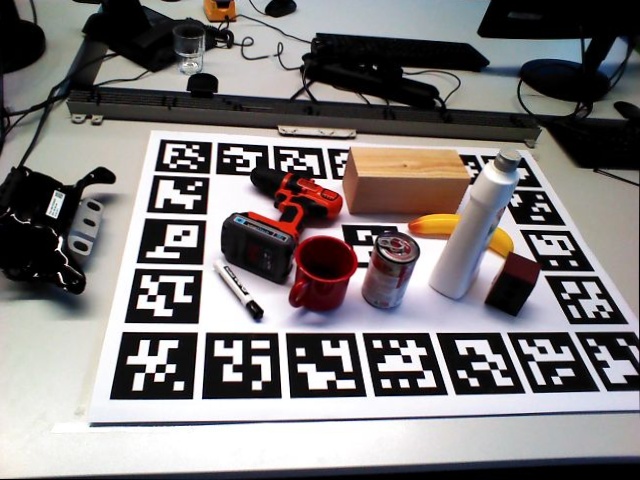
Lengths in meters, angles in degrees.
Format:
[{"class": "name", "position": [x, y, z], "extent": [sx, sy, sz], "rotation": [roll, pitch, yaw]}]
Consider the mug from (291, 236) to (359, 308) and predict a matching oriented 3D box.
[{"class": "mug", "position": [-0.001, 0.052, 0.754], "extent": [0.093, 0.082, 0.116], "rotation": [34, 52, 20]}]

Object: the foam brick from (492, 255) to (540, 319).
[{"class": "foam brick", "position": [0.308, 0.071, 0.795], "extent": [0.053, 0.078, 0.051], "rotation": [24, 44, 17]}]

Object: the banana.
[{"class": "banana", "position": [0.248, -0.024, 0.904], "extent": [0.198, 0.039, 0.074], "rotation": [14, 58, 1]}]

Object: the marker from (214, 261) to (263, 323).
[{"class": "marker", "position": [-0.120, 0.076, 0.759], "extent": [0.019, 0.020, 0.121], "rotation": [-24, 54, -27]}]

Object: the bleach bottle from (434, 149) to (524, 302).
[{"class": "bleach bottle", "position": [0.236, -0.026, 0.755], "extent": [0.068, 0.252, 0.102], "rotation": [22, 44, 13]}]

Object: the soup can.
[{"class": "soup can", "position": [0.107, 0.041, 0.762], "extent": [0.068, 0.102, 0.067], "rotation": [6, 40, -6]}]

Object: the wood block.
[{"class": "wood block", "position": [0.163, -0.104, 0.939], "extent": [0.206, 0.091, 0.089], "rotation": [1, 46, -9]}]

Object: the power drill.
[{"class": "power drill", "position": [-0.064, -0.038, 0.862], "extent": [0.185, 0.058, 0.185], "rotation": [24, 44, 10]}]
